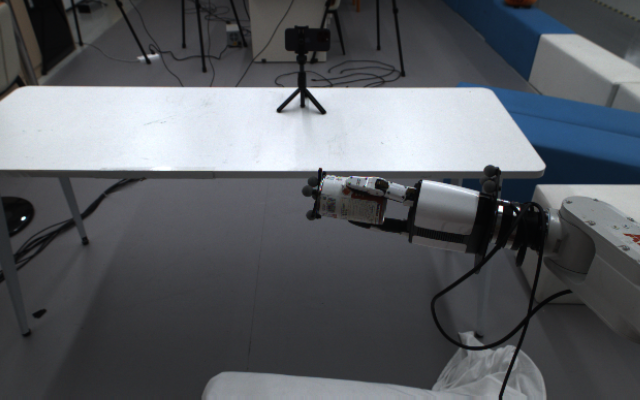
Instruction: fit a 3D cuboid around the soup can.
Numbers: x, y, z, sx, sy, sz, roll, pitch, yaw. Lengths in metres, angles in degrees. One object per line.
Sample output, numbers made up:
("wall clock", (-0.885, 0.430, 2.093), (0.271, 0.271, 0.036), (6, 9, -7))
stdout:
("soup can", (0.054, -0.001, 0.752), (0.101, 0.067, 0.067), (8, 35, 9))
